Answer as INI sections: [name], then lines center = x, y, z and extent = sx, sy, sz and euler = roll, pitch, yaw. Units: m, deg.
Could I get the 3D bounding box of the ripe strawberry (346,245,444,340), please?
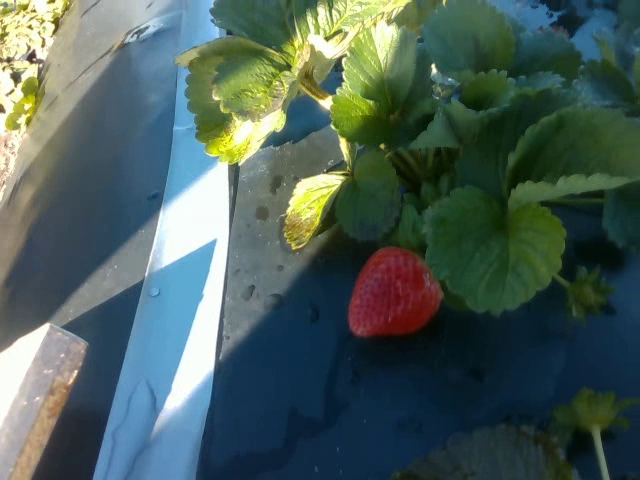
[ripe strawberry]
center = 0.031, 0.026, 0.288
extent = 0.058, 0.042, 0.045
euler = -45, 25, -24
